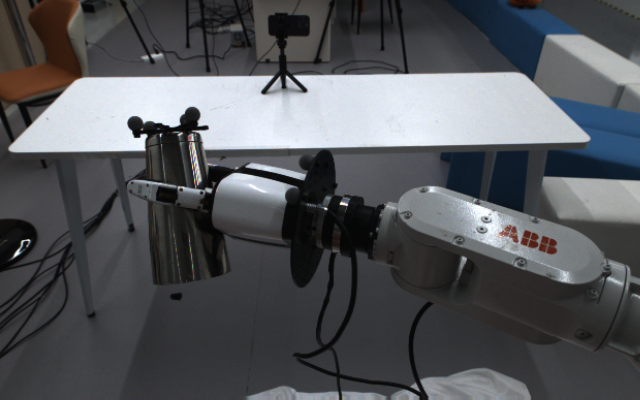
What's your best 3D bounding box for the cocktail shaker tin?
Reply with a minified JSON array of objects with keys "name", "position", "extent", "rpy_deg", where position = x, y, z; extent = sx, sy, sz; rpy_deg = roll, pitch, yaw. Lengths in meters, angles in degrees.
[{"name":"cocktail shaker tin","position":[-0.165,0.009,0.582],"extent":[0.093,0.170,0.093],"rpy_deg":[-8,1,0]}]
